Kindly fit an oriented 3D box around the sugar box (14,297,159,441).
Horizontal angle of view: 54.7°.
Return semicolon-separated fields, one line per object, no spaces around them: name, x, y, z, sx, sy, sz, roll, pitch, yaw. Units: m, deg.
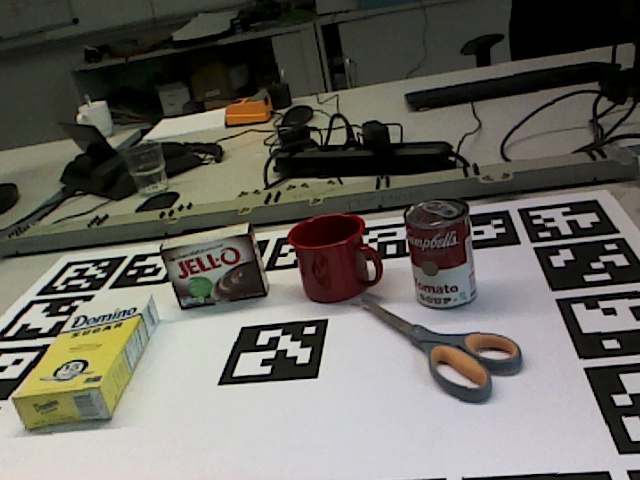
sugar box;-0.248;0.134;0.680;0.093;0.045;0.177;-10;29;9

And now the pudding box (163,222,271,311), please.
pudding box;-0.124;0.032;0.755;0.114;0.089;0.039;-11;34;2

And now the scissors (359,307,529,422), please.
scissors;0.107;0.103;0.610;0.087;0.016;0.204;-37;36;-21

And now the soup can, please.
soup can;0.132;0.024;0.674;0.068;0.101;0.068;-11;26;5

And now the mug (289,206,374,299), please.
mug;0.024;0.020;0.731;0.093;0.081;0.118;-27;29;-20
